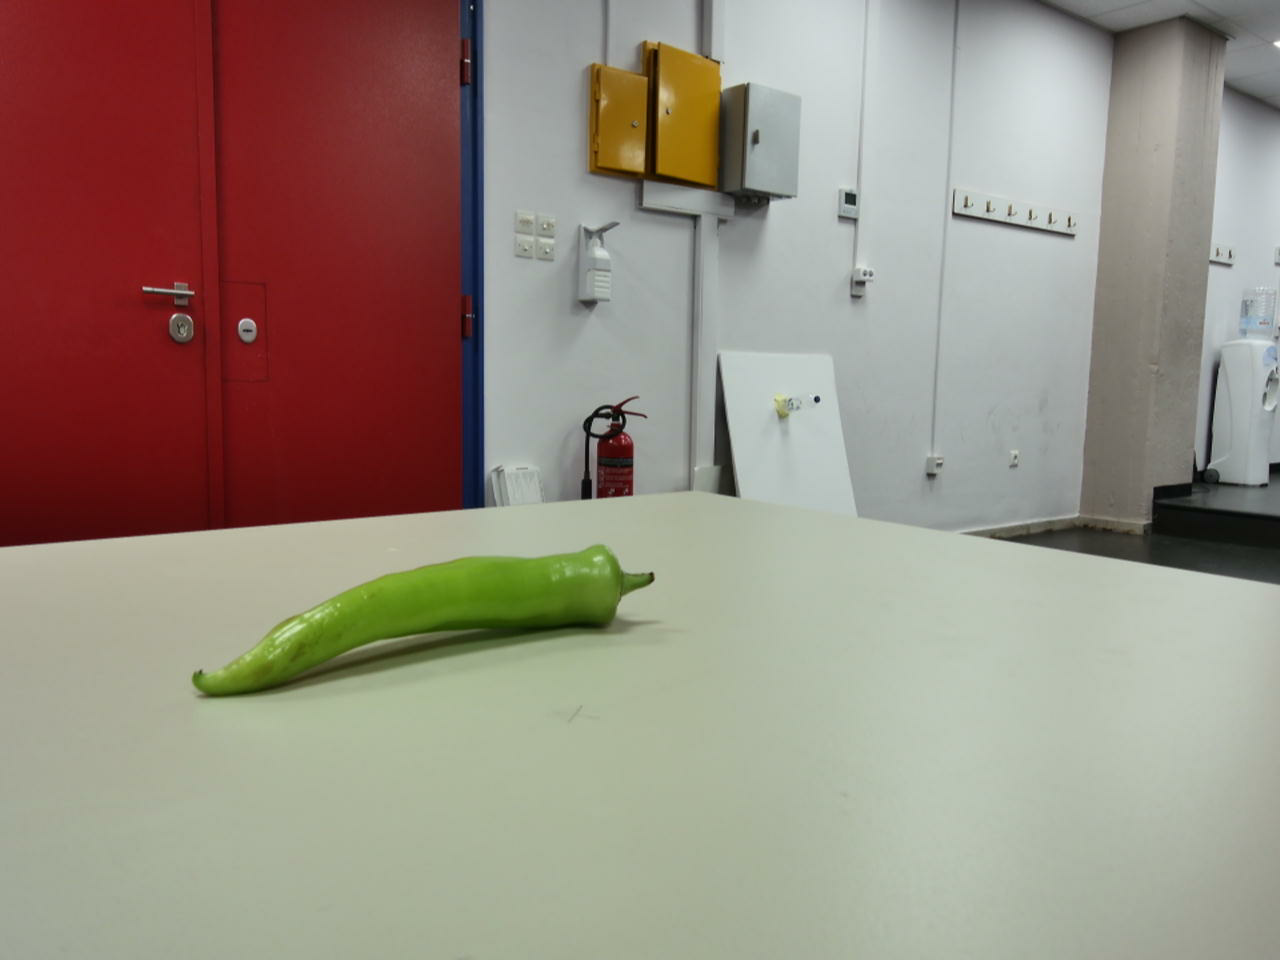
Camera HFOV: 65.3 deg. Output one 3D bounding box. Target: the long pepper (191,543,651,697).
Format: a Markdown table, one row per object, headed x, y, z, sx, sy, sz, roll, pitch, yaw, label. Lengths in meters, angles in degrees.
| x | y | z | sx | sy | sz | roll | pitch | yaw | label |
| --- | --- | --- | --- | --- | --- | --- | --- | --- | --- |
| -0.083 | 0.052 | 0.413 | 0.197 | 0.038 | 0.047 | -3 | 5 | -36 | long pepper |
